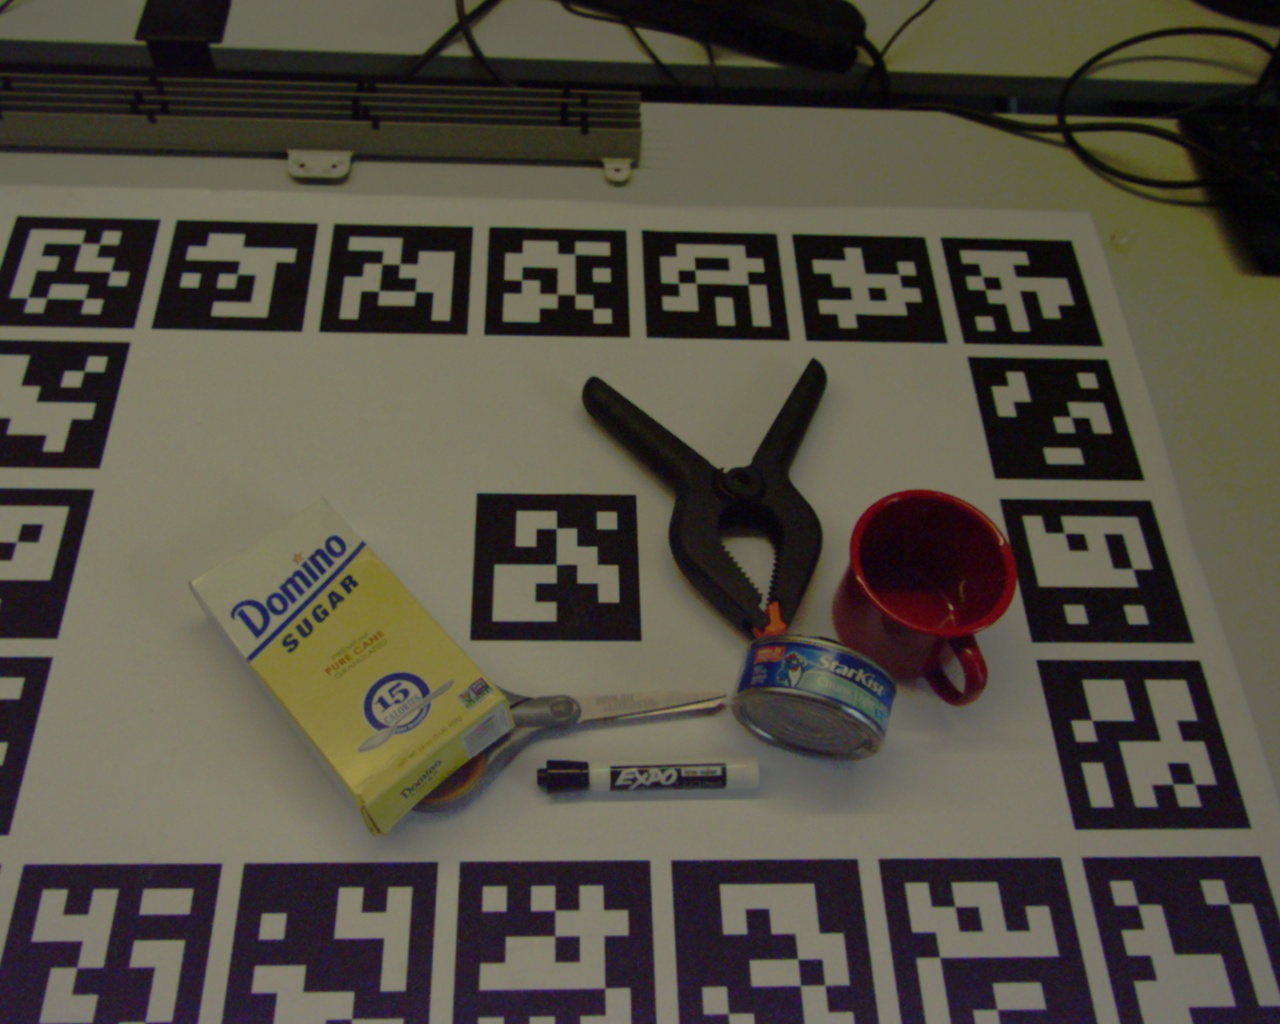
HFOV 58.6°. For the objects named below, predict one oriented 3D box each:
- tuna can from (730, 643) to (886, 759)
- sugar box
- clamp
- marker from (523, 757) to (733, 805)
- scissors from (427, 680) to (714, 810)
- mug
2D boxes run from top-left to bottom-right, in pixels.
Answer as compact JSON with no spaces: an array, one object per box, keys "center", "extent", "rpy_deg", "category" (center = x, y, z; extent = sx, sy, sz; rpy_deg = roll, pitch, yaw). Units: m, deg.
[{"center":[0.095,0.110,0.654],"extent":[0.086,0.085,0.034],"rpy_deg":[15,60,4],"category":"tuna can"},{"center":[-0.160,0.090,0.663],"extent":[0.092,0.045,0.178],"rpy_deg":[-34,62,-21],"category":"sugar box"},{"center":[0.055,0.001,0.753],"extent":[0.164,0.036,0.204],"rpy_deg":[-9,62,-10],"category":"clamp"},{"center":[-0.007,0.156,0.658],"extent":[0.121,0.019,0.020],"rpy_deg":[-3,62,-5],"category":"marker"},{"center":[-0.054,0.118,0.673],"extent":[0.202,0.016,0.088],"rpy_deg":[-9,58,-11],"category":"scissors"},{"center":[0.152,0.066,0.688],"extent":[0.092,0.081,0.118],"rpy_deg":[-25,62,-18],"category":"mug"}]
